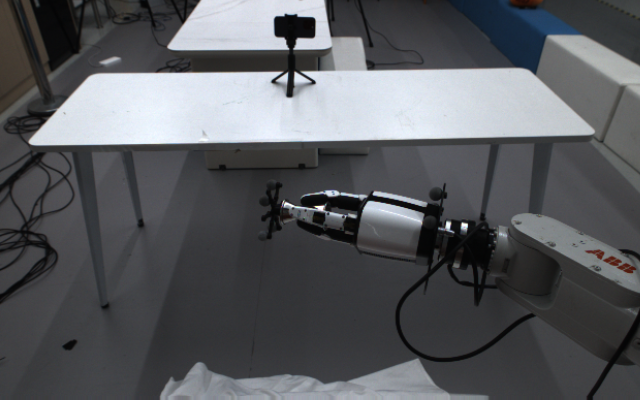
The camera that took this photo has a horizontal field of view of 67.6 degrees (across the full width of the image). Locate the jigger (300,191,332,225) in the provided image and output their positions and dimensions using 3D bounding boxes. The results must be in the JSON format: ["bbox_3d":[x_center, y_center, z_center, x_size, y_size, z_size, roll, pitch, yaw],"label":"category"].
[{"bbox_3d":[-0.015,0.018,0.725,0.071,0.043,0.043,5,34,15],"label":"jigger"}]
